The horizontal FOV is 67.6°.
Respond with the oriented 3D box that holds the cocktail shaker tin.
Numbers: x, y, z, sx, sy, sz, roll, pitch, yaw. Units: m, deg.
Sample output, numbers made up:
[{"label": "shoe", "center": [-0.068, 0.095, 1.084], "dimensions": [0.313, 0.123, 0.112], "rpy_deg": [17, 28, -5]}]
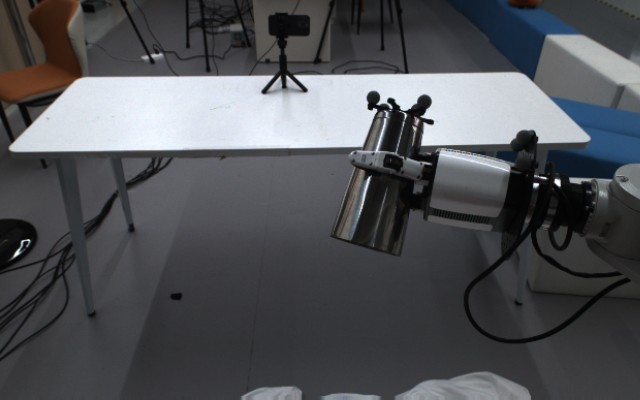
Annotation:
[{"label": "cocktail shaker tin", "center": [0.079, -0.023, 0.616], "dimensions": [0.093, 0.170, 0.093], "rpy_deg": [16, -6, 2]}]
